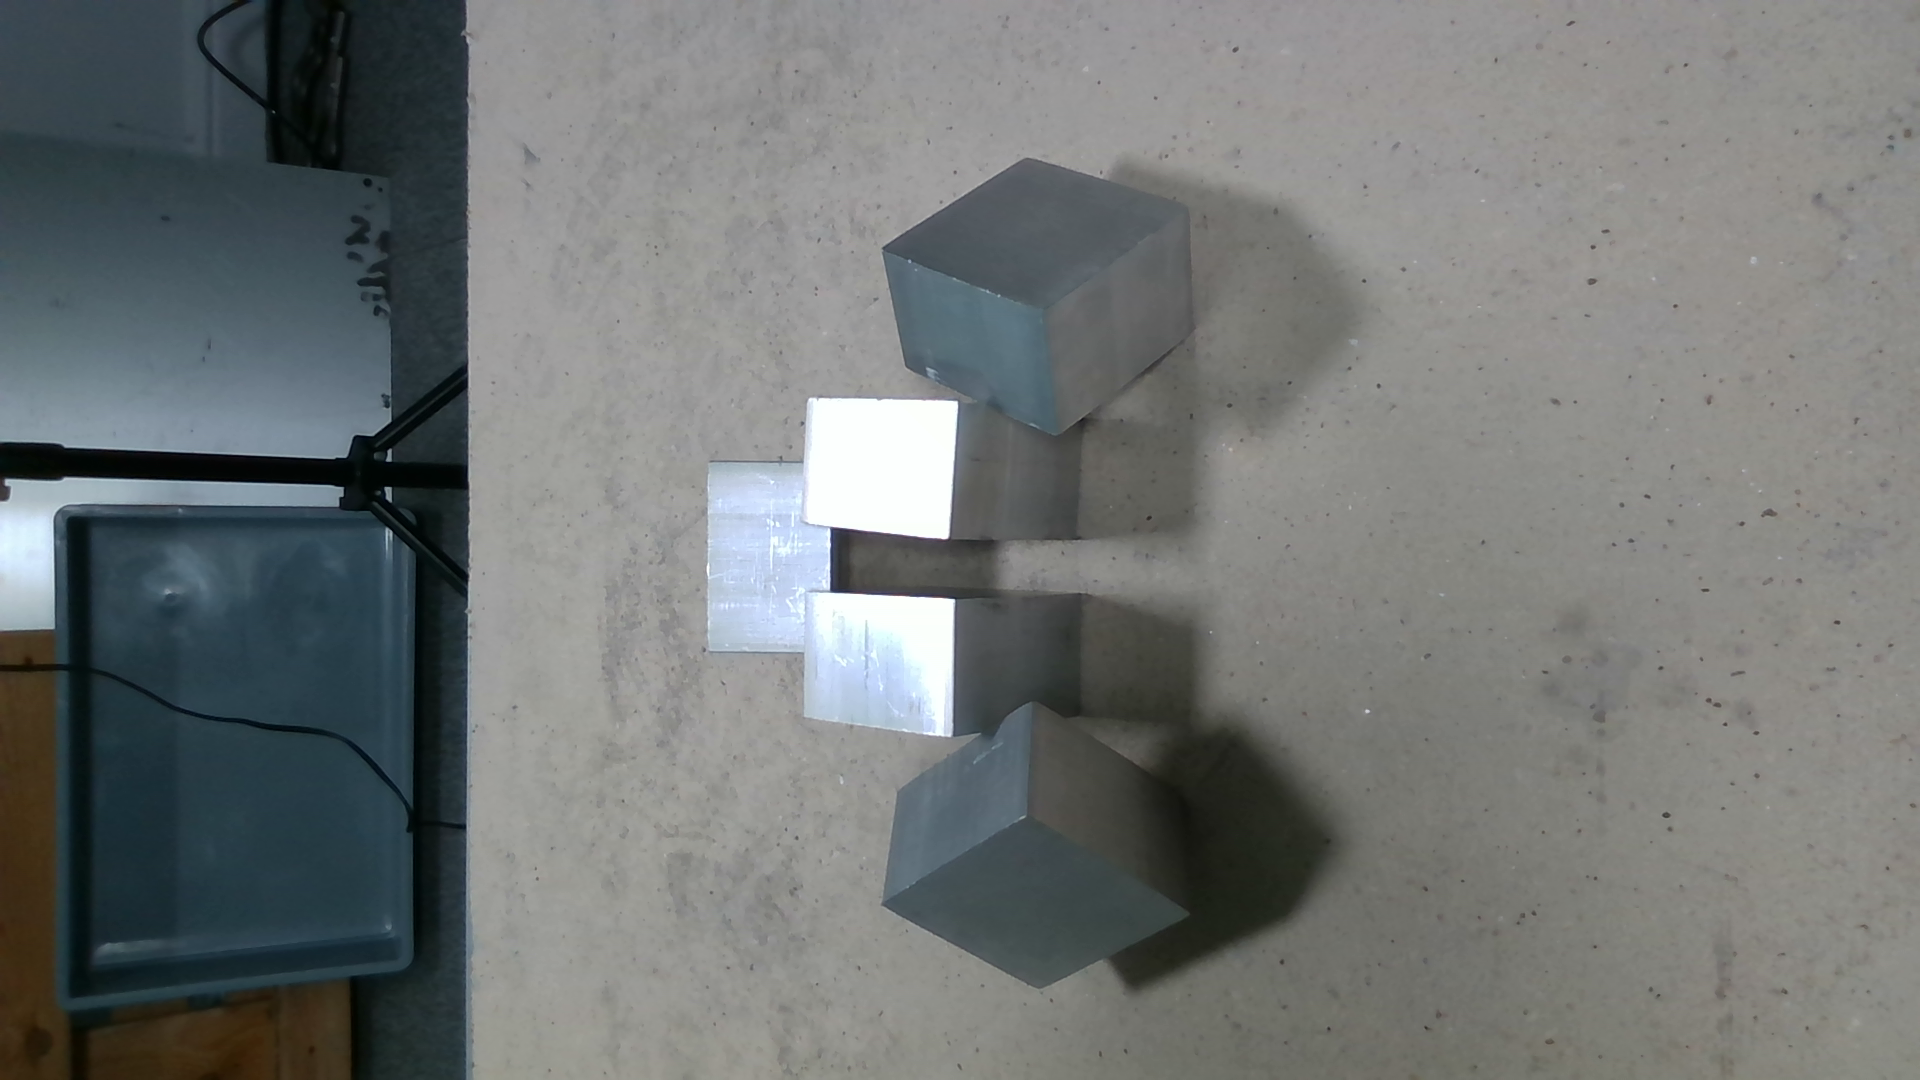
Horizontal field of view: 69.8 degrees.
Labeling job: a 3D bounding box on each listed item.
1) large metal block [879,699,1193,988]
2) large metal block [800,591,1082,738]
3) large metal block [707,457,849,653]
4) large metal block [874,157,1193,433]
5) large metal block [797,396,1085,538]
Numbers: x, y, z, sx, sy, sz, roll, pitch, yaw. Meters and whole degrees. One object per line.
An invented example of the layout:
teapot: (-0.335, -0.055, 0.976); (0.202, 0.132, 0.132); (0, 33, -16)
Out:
large metal block: (0.029, 0.116, 0.515); (0.080, 0.080, 0.050); (-38, 29, 33)
large metal block: (-0.007, 0.046, 0.553); (0.080, 0.080, 0.050); (1, 91, 40)
large metal block: (-0.078, 0.006, 0.604); (0.050, 0.080, 0.080); (1, 91, 1)
large metal block: (0.029, -0.093, 0.509); (0.080, 0.080, 0.050); (29, 144, 36)
large metal block: (-0.007, -0.029, 0.552); (0.080, 0.080, 0.050); (6, 94, 40)
